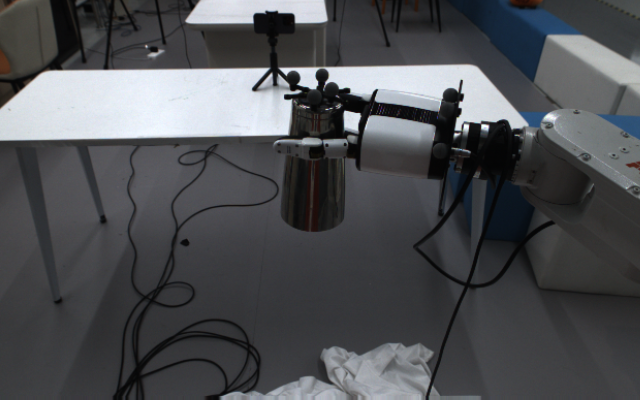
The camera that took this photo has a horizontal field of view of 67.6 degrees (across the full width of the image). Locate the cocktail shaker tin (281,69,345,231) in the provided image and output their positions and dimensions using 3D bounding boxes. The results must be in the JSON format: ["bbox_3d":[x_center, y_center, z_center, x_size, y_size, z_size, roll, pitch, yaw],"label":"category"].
[{"bbox_3d":[-0.004,-0.056,0.650,0.093,0.170,0.093,3,33,-2],"label":"cocktail shaker tin"}]
